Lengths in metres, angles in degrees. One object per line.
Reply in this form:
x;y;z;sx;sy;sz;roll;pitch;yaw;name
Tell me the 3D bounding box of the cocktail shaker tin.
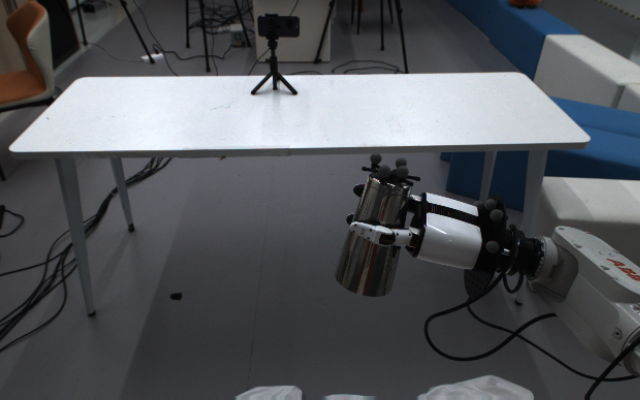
0.086;0.047;0.732;0.093;0.170;0.093;11;19;-4;cocktail shaker tin
